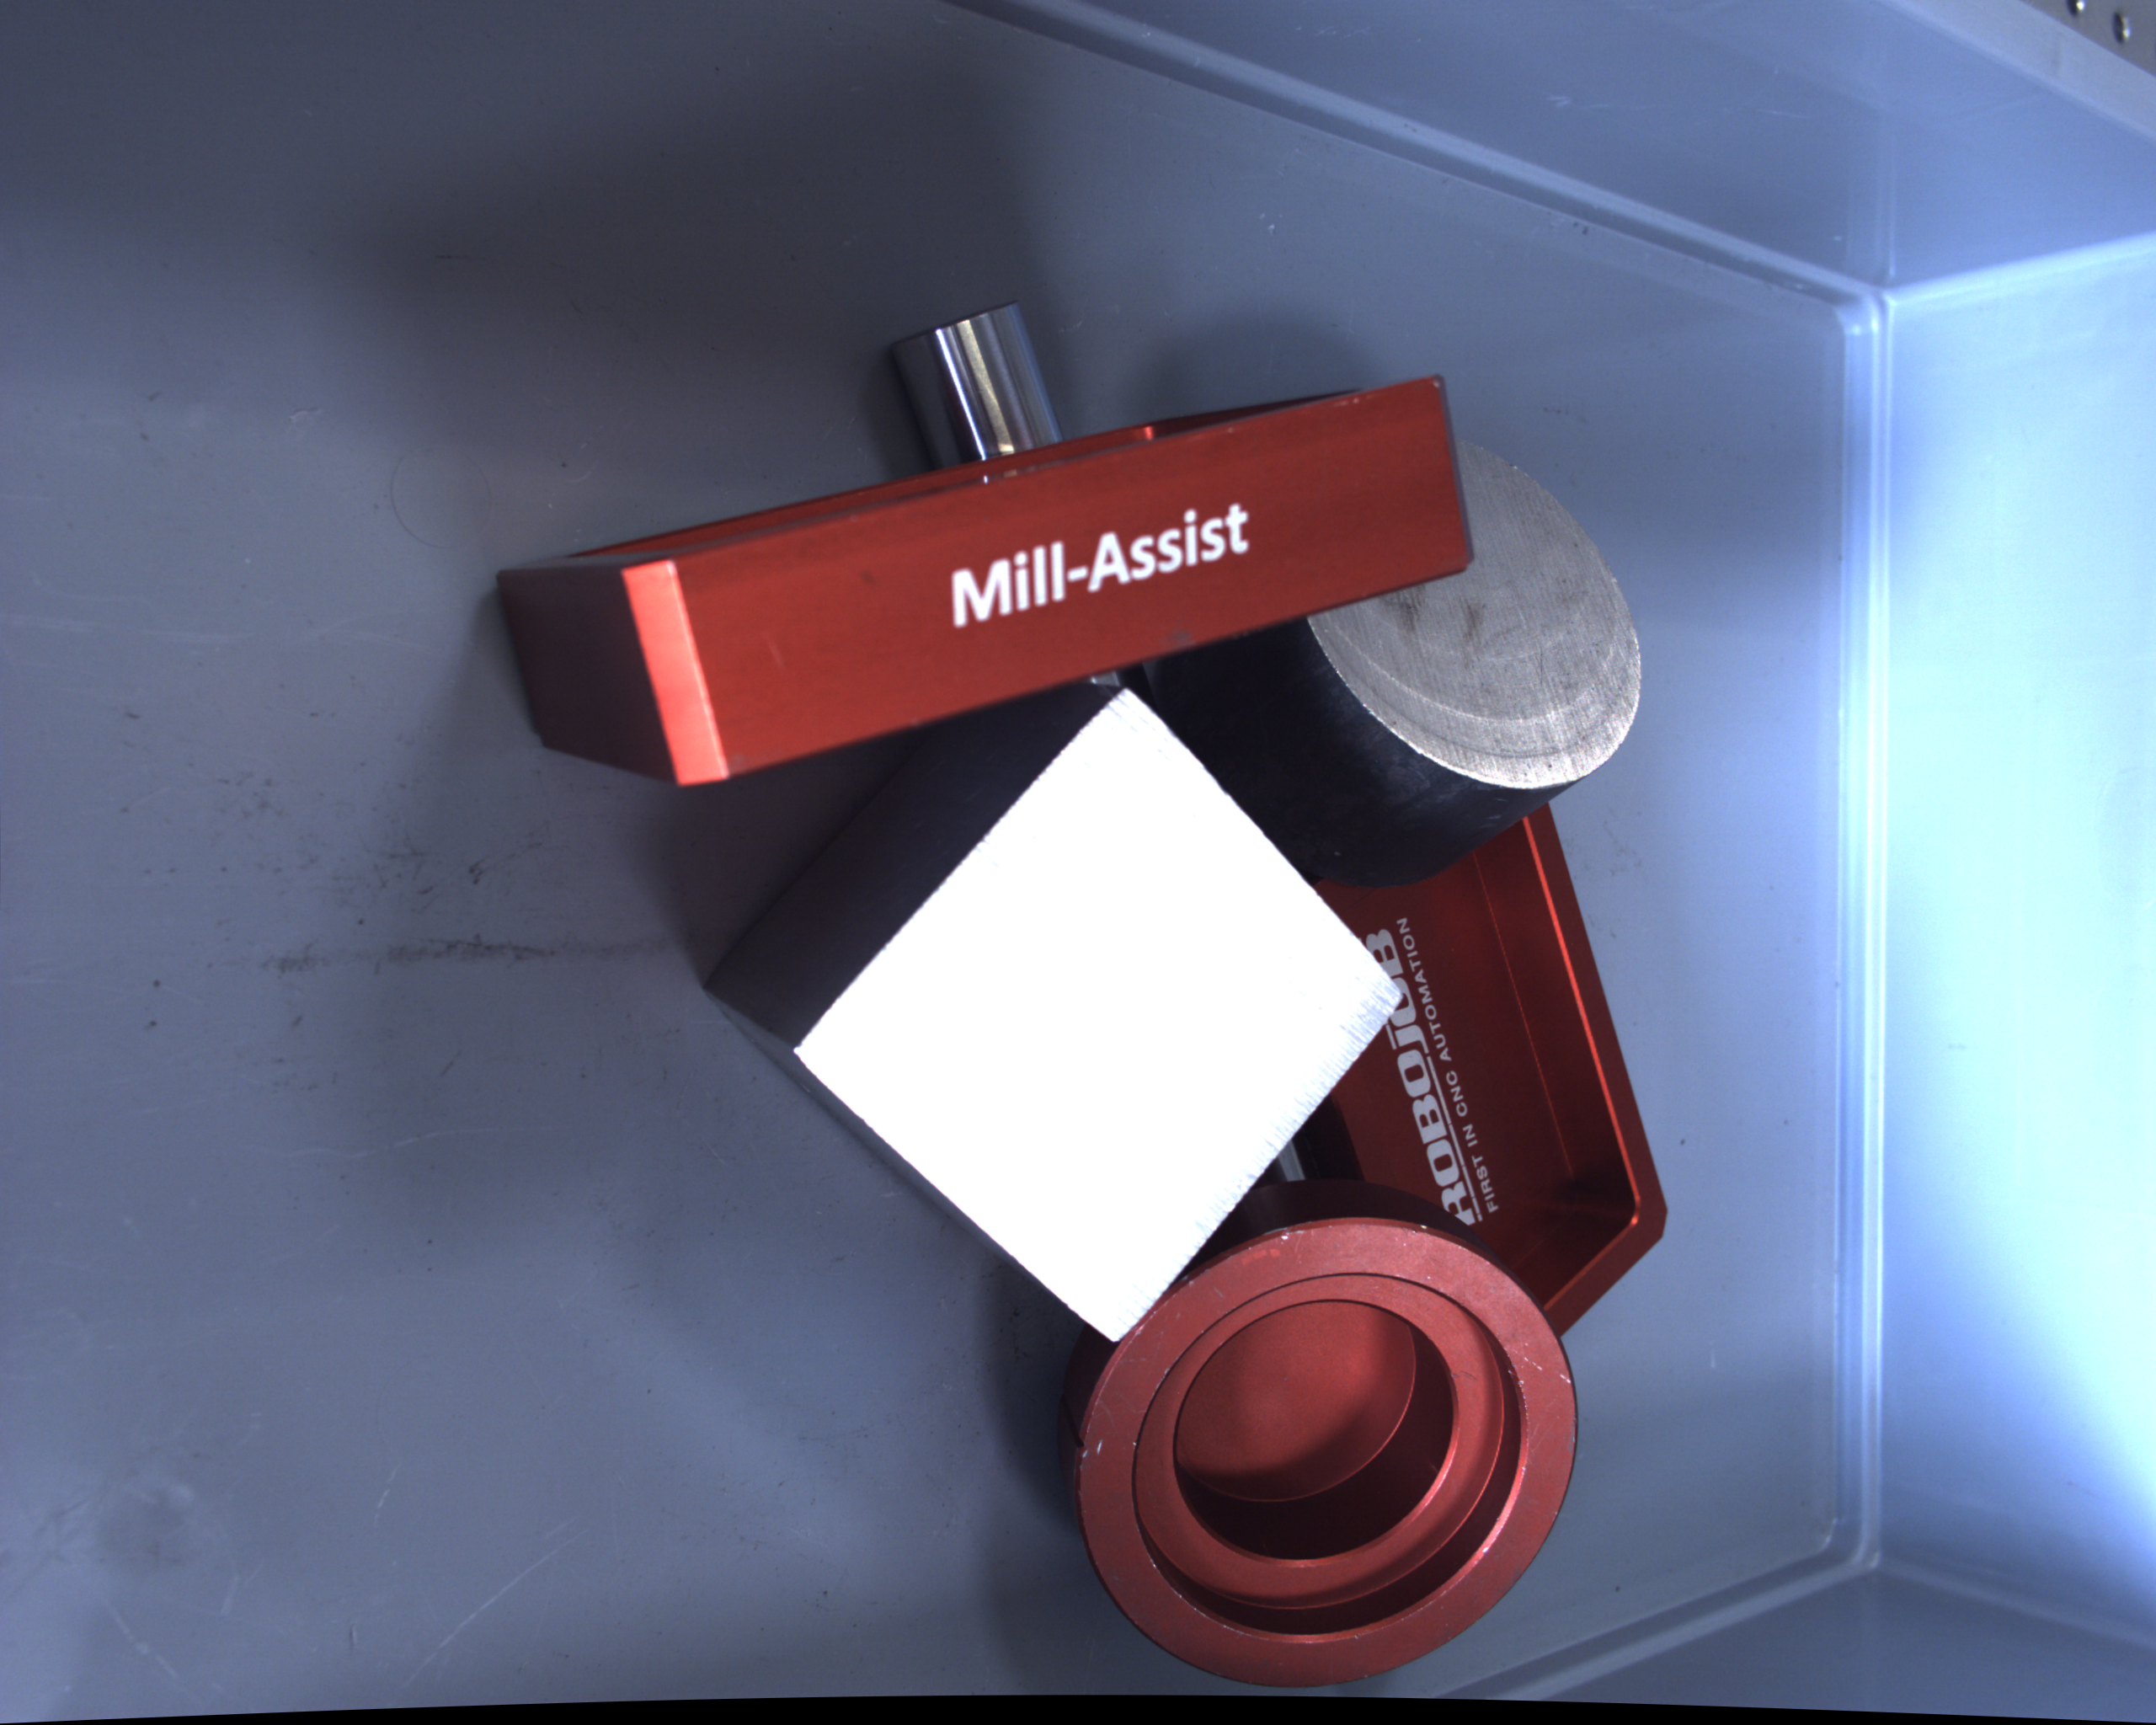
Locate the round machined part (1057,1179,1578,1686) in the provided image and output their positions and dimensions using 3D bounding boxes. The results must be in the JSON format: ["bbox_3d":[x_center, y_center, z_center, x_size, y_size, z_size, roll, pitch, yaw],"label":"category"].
[{"bbox_3d":[0.044,0.108,0.413,0.099,0.042,0.097,-3,104,-10],"label":"round machined part"}]

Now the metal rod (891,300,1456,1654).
[{"bbox_3d":[0.026,0.035,0.426,0.025,0.025,0.298,-32,110,-36],"label":"metal rod"}]

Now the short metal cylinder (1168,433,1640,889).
[{"bbox_3d":[0.066,-0.041,0.424,0.081,0.050,0.080,12,62,-23],"label":"short metal cylinder"}]

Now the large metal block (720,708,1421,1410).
[{"bbox_3d":[-0.001,0.032,0.364,0.080,0.050,0.080,-40,117,-13],"label":"large metal block"}]

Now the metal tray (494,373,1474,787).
[{"bbox_3d":[-0.016,-0.047,0.330,0.131,0.090,0.030,-18,104,-24],"label":"metal tray"}]

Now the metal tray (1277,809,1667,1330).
[{"bbox_3d":[0.082,0.048,0.470,0.091,0.030,0.129,-32,110,-36],"label":"metal tray"}]
